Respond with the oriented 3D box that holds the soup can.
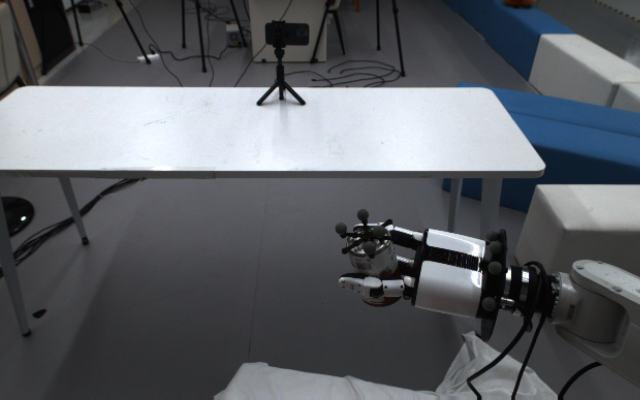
[{"bbox_3d":[0.084,0.097,0.708,0.067,0.101,0.067,-13,31,8],"label":"soup can"}]
